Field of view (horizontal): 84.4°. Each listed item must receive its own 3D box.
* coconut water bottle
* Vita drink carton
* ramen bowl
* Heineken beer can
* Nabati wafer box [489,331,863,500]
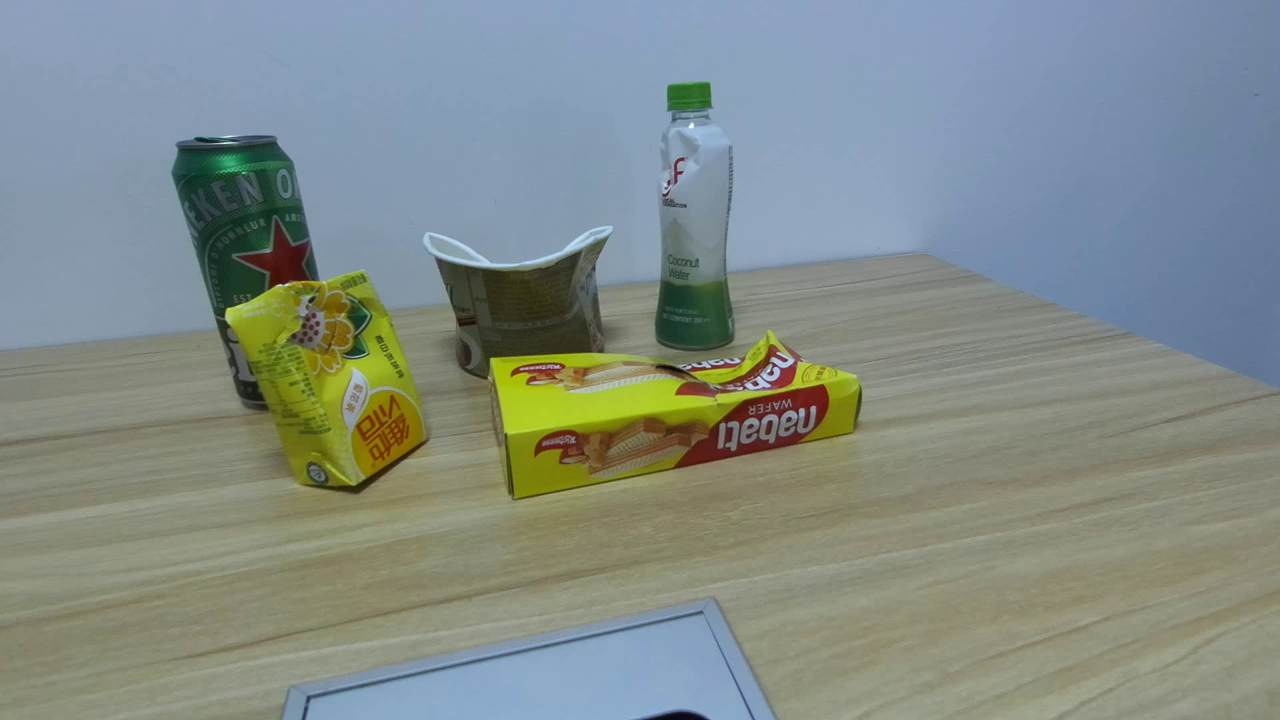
[{"bbox_3d":[0.039,-0.103,0.522,0.069,0.186,0.069,-3,20,1],"label":"coconut water bottle"},{"bbox_3d":[-0.166,0.008,0.382,0.042,0.108,0.087,-8,15,24],"label":"Vita drink carton"},{"bbox_3d":[-0.088,-0.045,0.516,0.137,0.098,0.137,-4,23,2],"label":"ramen bowl"},{"bbox_3d":[-0.242,-0.054,0.454,0.067,0.169,0.067,-3,23,1],"label":"Heineken beer can"},{"bbox_3d":[0.019,0.022,0.421,0.205,0.042,0.106,-7,25,-14],"label":"Nabati wafer box"}]
